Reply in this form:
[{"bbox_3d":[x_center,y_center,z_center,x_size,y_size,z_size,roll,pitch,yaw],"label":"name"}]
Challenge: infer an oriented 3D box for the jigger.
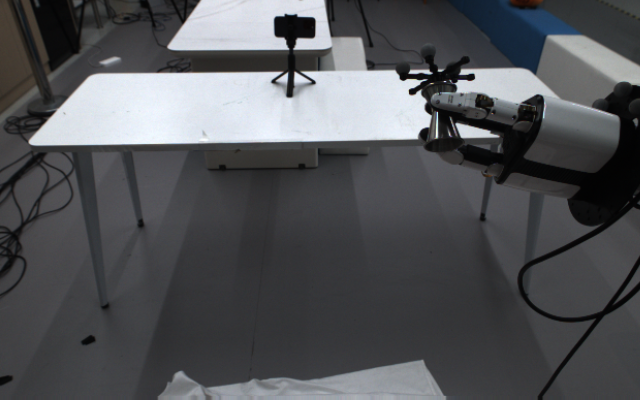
[{"bbox_3d":[0.137,-0.095,0.544,0.043,0.043,0.071,0,75,-3],"label":"jigger"}]
